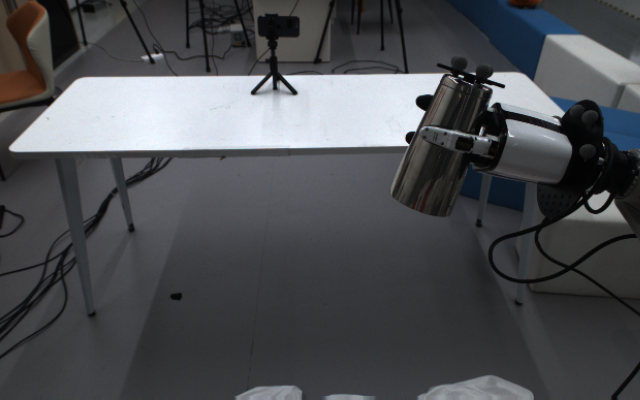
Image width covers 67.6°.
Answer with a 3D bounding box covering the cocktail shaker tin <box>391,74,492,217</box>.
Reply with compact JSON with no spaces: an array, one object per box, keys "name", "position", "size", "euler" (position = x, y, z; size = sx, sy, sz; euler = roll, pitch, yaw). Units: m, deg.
[{"name":"cocktail shaker tin","position":[0.165,-0.075,0.645],"size":[0.093,0.170,0.093],"euler":[15,21,-6]}]
